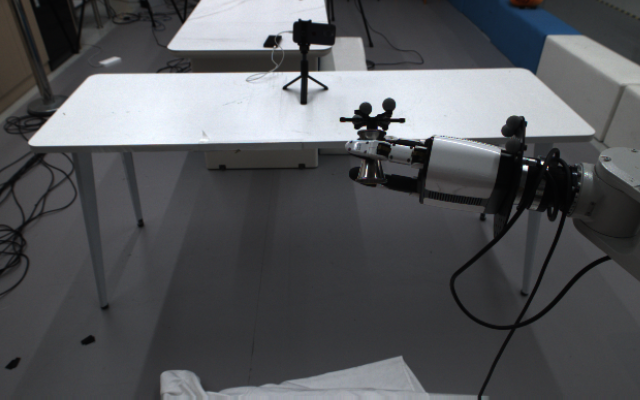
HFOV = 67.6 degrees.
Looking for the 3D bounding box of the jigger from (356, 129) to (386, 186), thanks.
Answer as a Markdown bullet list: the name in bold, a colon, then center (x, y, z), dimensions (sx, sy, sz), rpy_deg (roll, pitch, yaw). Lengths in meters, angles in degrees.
- **jigger**: center (0.068, -0.059, 0.659), dimensions (0.043, 0.071, 0.043), rpy_deg (2, -6, 0)
